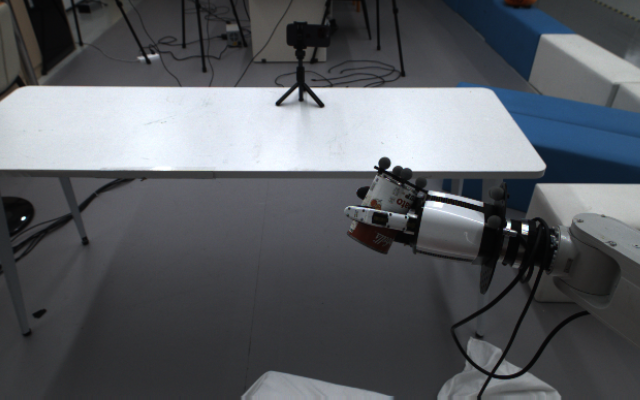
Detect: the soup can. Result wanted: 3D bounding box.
[{"bbox_3d":[0.092,0.019,0.707,0.067,0.101,0.067,26,5,-3],"label":"soup can"}]
